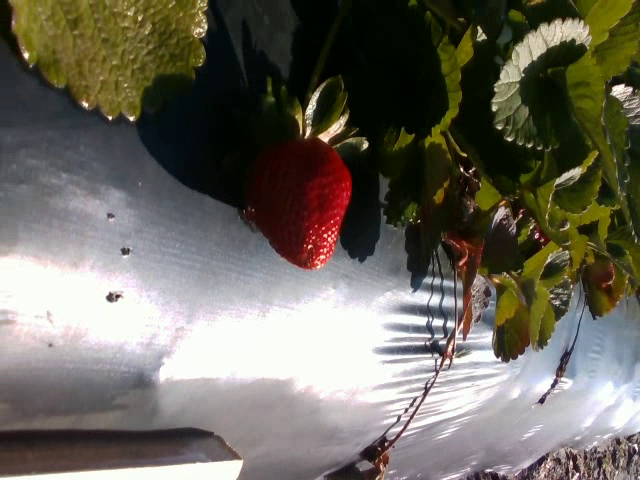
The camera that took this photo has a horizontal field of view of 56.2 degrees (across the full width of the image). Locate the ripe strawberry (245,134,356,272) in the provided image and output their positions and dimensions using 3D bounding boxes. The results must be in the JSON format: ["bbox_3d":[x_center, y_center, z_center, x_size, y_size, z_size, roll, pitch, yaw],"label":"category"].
[{"bbox_3d":[-0.007,-0.009,0.194,0.043,0.050,0.043,-9,-45,4],"label":"ripe strawberry"}]
